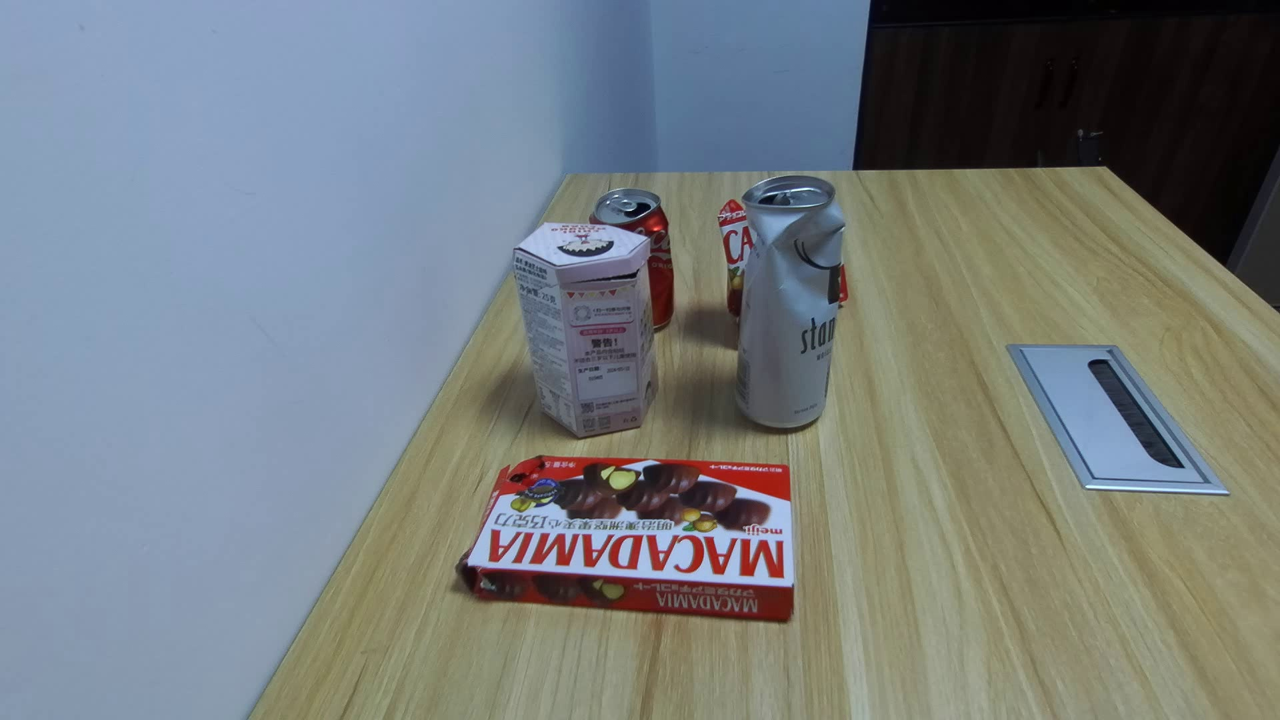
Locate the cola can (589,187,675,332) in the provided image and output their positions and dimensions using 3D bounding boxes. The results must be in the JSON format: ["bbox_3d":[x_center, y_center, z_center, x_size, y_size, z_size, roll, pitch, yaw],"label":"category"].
[{"bbox_3d":[-0.005,-0.084,0.599,0.066,0.113,0.069,-10,36,-8],"label":"cola can"}]

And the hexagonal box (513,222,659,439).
[{"bbox_3d":[-0.034,-0.023,0.493,0.092,0.135,0.085,-9,34,-6],"label":"hexagonal box"}]

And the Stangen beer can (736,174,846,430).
[{"bbox_3d":[0.095,-0.033,0.467,0.066,0.166,0.065,-19,38,-16],"label":"Stangen beer can"}]

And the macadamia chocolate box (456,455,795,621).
[{"bbox_3d":[-0.005,0.097,0.415,0.186,0.027,0.102,1,32,9],"label":"macadamia chocolate box"}]

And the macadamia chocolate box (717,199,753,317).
[{"bbox_3d":[0.118,-0.084,0.599,0.127,0.112,0.056,-21,36,-24],"label":"macadamia chocolate box"}]
